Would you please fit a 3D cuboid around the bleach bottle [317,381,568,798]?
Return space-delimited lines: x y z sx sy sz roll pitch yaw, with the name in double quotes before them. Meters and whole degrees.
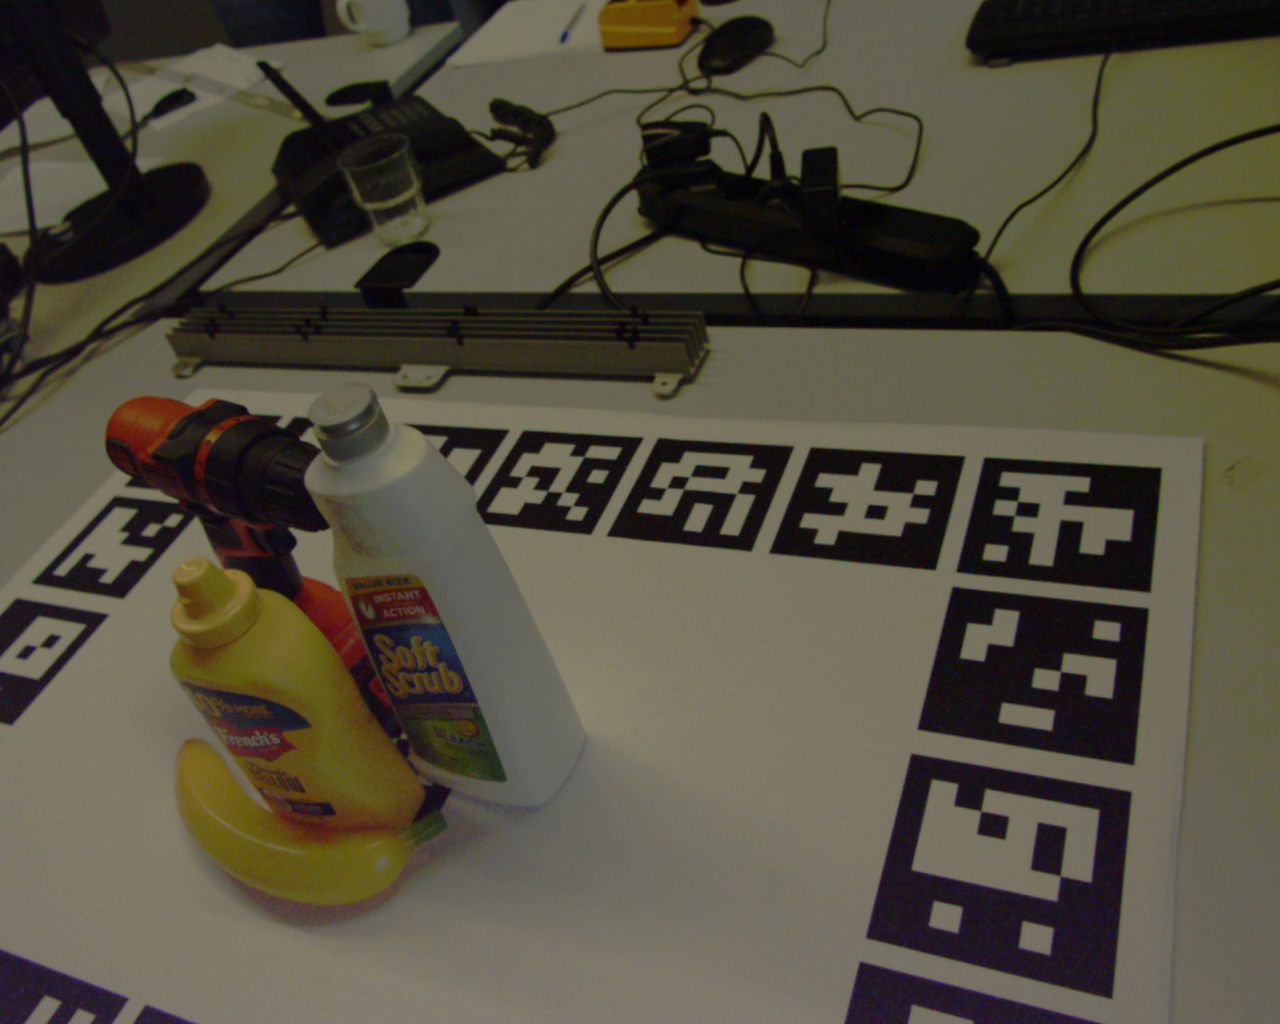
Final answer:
"bleach bottle" -0.113 0.043 0.597 0.104 0.249 0.067 8 42 27

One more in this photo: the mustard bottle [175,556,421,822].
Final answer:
"mustard bottle" -0.192 0.094 0.608 0.097 0.190 0.058 7 47 25

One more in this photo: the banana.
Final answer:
"banana" -0.201 0.173 0.655 0.200 0.038 0.074 8 50 31

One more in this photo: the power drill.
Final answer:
"power drill" -0.208 0.026 0.656 0.187 0.185 0.057 18 52 32
